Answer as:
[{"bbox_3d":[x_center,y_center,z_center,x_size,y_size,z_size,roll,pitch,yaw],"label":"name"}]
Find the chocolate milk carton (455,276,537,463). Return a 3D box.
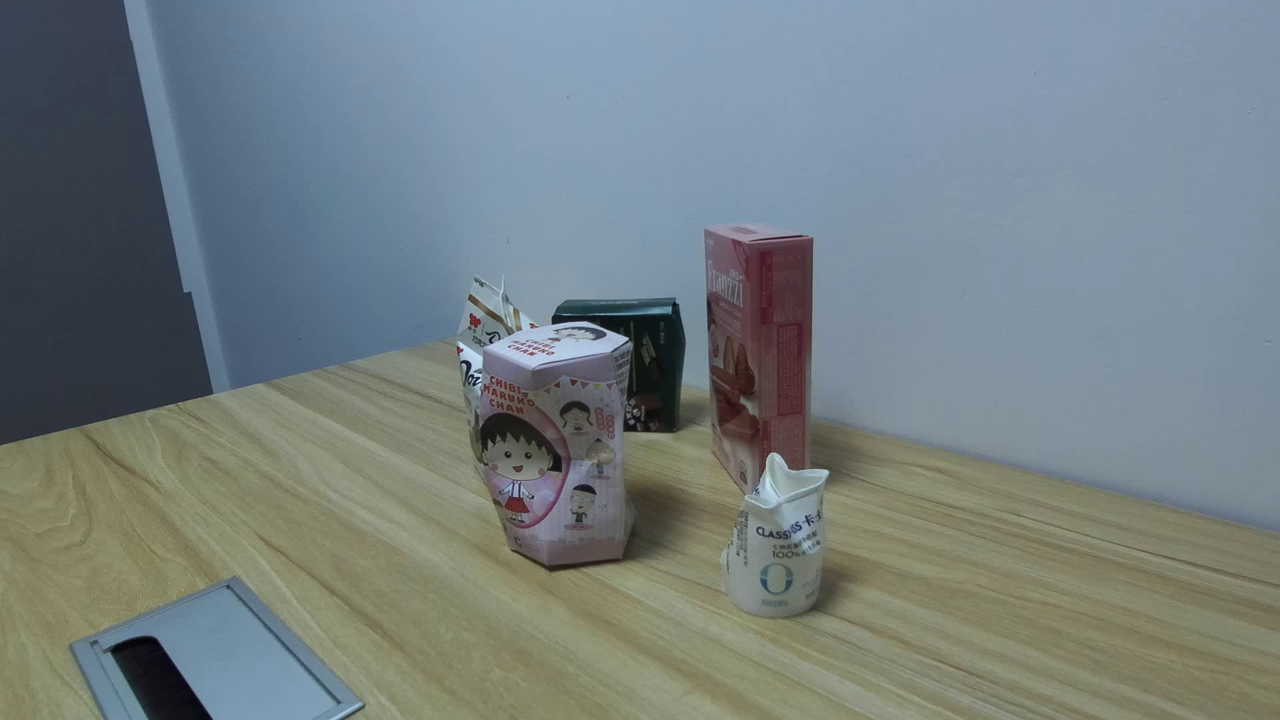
[{"bbox_3d":[-0.092,0.013,0.539,0.074,0.156,0.076,-14,24,-22],"label":"chocolate milk carton"}]

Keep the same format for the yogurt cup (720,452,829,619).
[{"bbox_3d":[0.074,0.096,0.386,0.055,0.072,0.055,-16,25,-36],"label":"yogurt cup"}]

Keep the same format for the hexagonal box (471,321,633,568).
[{"bbox_3d":[-0.049,0.051,0.446,0.088,0.134,0.093,1,18,8],"label":"hexagonal box"}]

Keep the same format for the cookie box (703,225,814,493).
[{"bbox_3d":[0.087,-0.001,0.518,0.048,0.184,0.096,-6,17,-10],"label":"cookie box"}]

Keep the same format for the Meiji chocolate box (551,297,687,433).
[{"bbox_3d":[-0.019,0.003,0.637,0.122,0.116,0.058,1,19,8],"label":"Meiji chocolate box"}]
